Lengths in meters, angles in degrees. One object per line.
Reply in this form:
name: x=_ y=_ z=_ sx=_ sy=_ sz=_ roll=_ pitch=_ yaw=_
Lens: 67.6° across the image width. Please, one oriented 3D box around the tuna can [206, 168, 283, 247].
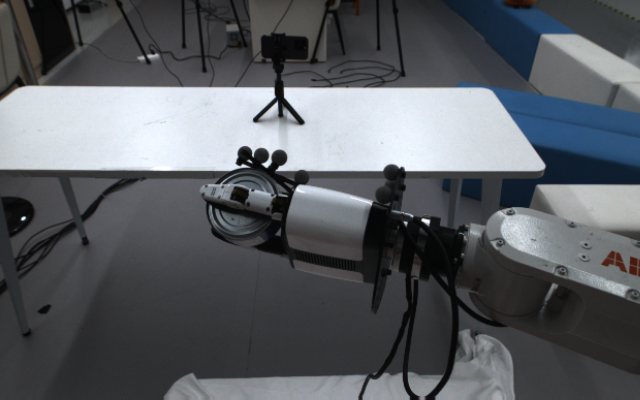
tuna can: x=-0.082 y=0.007 z=0.550 sx=0.085 sy=0.034 sz=0.085 roll=-4 pitch=67 yaw=10
